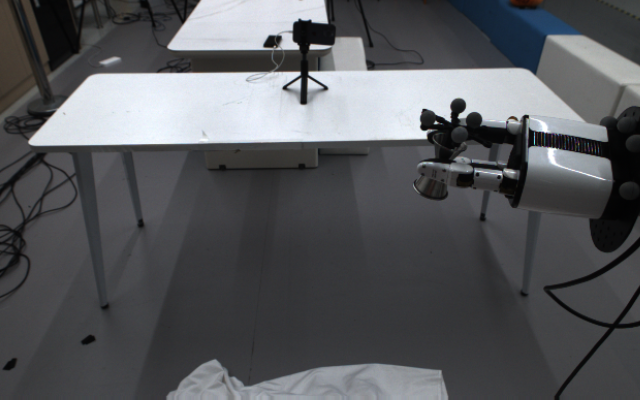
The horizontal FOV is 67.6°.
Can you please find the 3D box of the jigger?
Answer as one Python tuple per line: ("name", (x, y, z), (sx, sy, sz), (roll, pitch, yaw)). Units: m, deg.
("jigger", (0.139, -0.040, 0.569), (0.043, 0.071, 0.043), (10, 35, -7))
